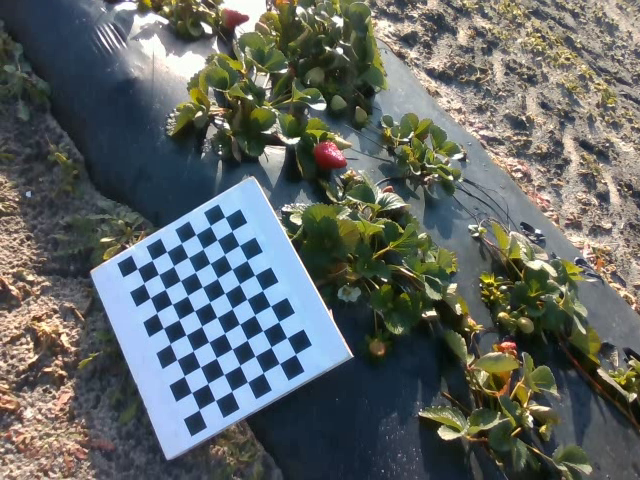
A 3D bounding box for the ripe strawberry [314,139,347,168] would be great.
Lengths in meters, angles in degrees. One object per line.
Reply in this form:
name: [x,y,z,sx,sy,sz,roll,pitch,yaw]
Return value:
ripe strawberry: [0.020,-0.138,1.079,0.072,0.057,0.055,33,-7,28]
